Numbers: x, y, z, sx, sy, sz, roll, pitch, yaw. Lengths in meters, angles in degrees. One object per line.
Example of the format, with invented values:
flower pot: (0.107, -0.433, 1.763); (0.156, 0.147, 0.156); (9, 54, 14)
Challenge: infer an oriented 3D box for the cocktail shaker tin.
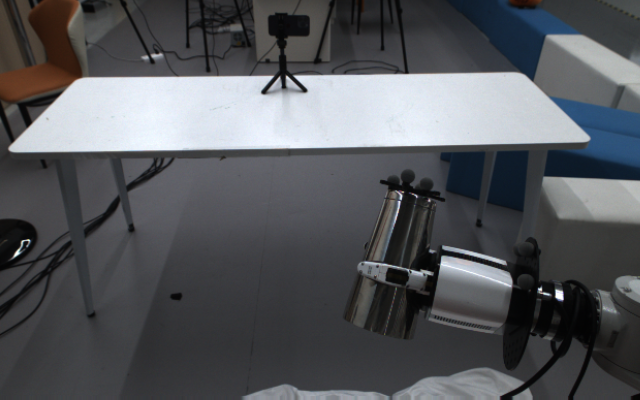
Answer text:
cocktail shaker tin: (0.096, 0.078, 0.614); (0.093, 0.170, 0.093); (15, -4, 1)
